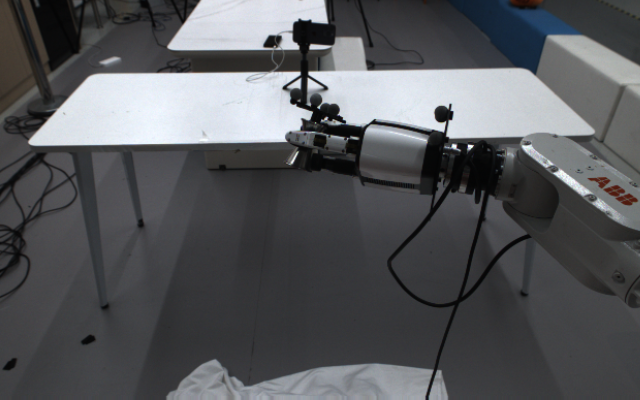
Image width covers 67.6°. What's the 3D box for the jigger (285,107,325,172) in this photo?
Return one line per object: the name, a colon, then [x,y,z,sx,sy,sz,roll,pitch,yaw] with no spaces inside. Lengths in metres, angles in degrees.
jigger: [-0.022,-0.079,0.690,0.043,0.071,0.043,22,6,-2]
